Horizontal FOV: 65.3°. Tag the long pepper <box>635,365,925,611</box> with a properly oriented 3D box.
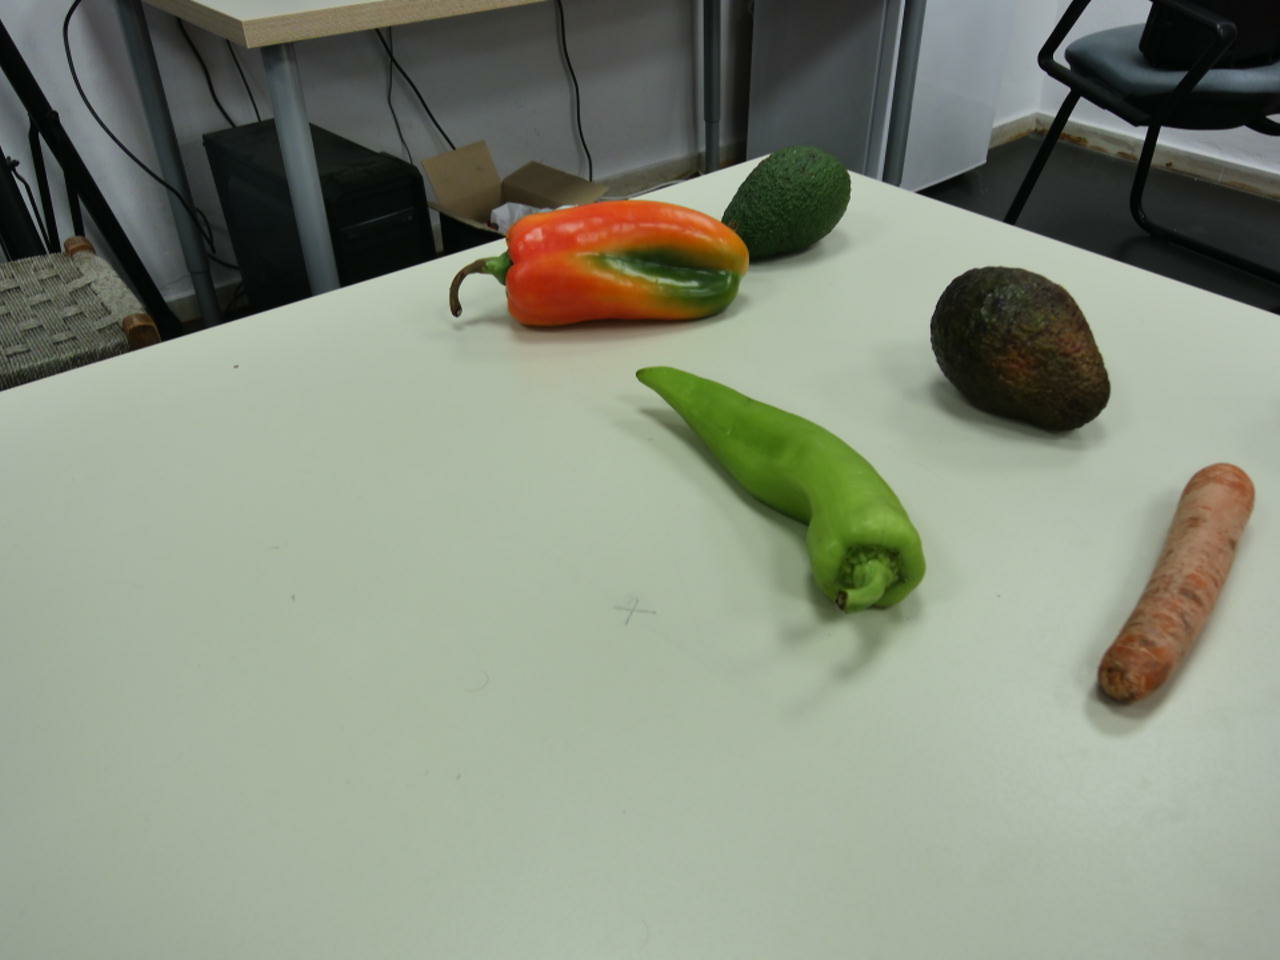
[{"bbox_3d":[0.064,-0.007,0.453,0.065,0.045,0.204,-13,37,-17],"label":"long pepper"}]
